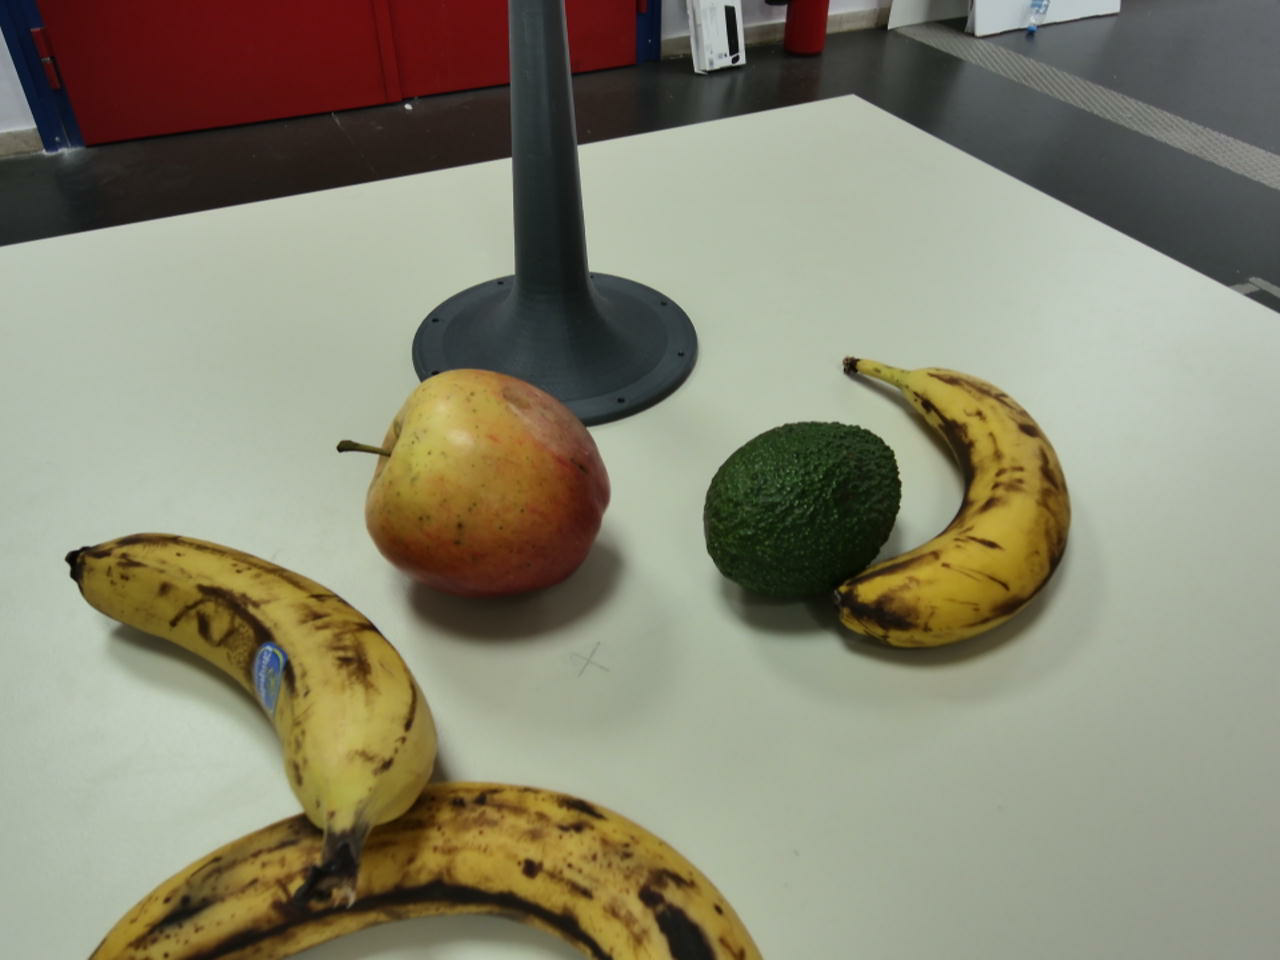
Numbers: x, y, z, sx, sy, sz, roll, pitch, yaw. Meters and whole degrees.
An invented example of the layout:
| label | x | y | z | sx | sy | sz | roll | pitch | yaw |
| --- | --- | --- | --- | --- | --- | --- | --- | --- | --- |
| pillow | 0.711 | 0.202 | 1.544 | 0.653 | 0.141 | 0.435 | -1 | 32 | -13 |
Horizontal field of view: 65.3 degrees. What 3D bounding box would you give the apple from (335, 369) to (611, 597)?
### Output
| label | x | y | z | sx | sy | sz | roll | pitch | yaw |
| --- | --- | --- | --- | --- | --- | --- | --- | --- | --- |
| apple | -0.059 | 0.002 | 0.375 | 0.093 | 0.084 | 0.086 | 18 | 41 | 21 |
